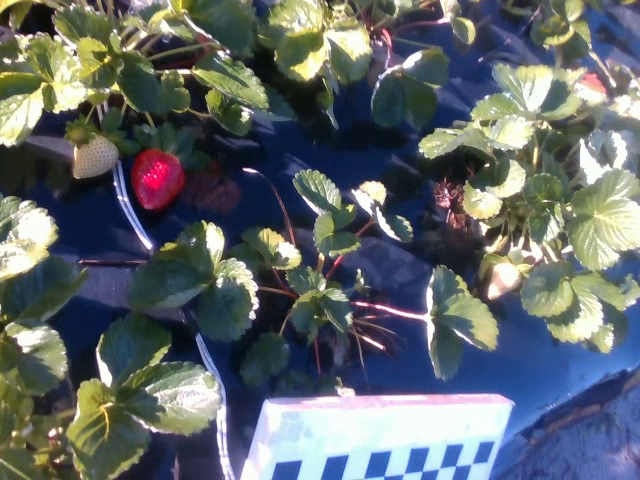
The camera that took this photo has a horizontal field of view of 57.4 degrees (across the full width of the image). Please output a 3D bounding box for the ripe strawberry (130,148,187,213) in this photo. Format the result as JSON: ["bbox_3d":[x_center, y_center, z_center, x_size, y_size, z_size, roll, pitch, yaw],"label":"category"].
[{"bbox_3d":[-0.146,-0.058,0.544,0.040,0.080,0.063,-21,-48,27],"label":"ripe strawberry"}]
